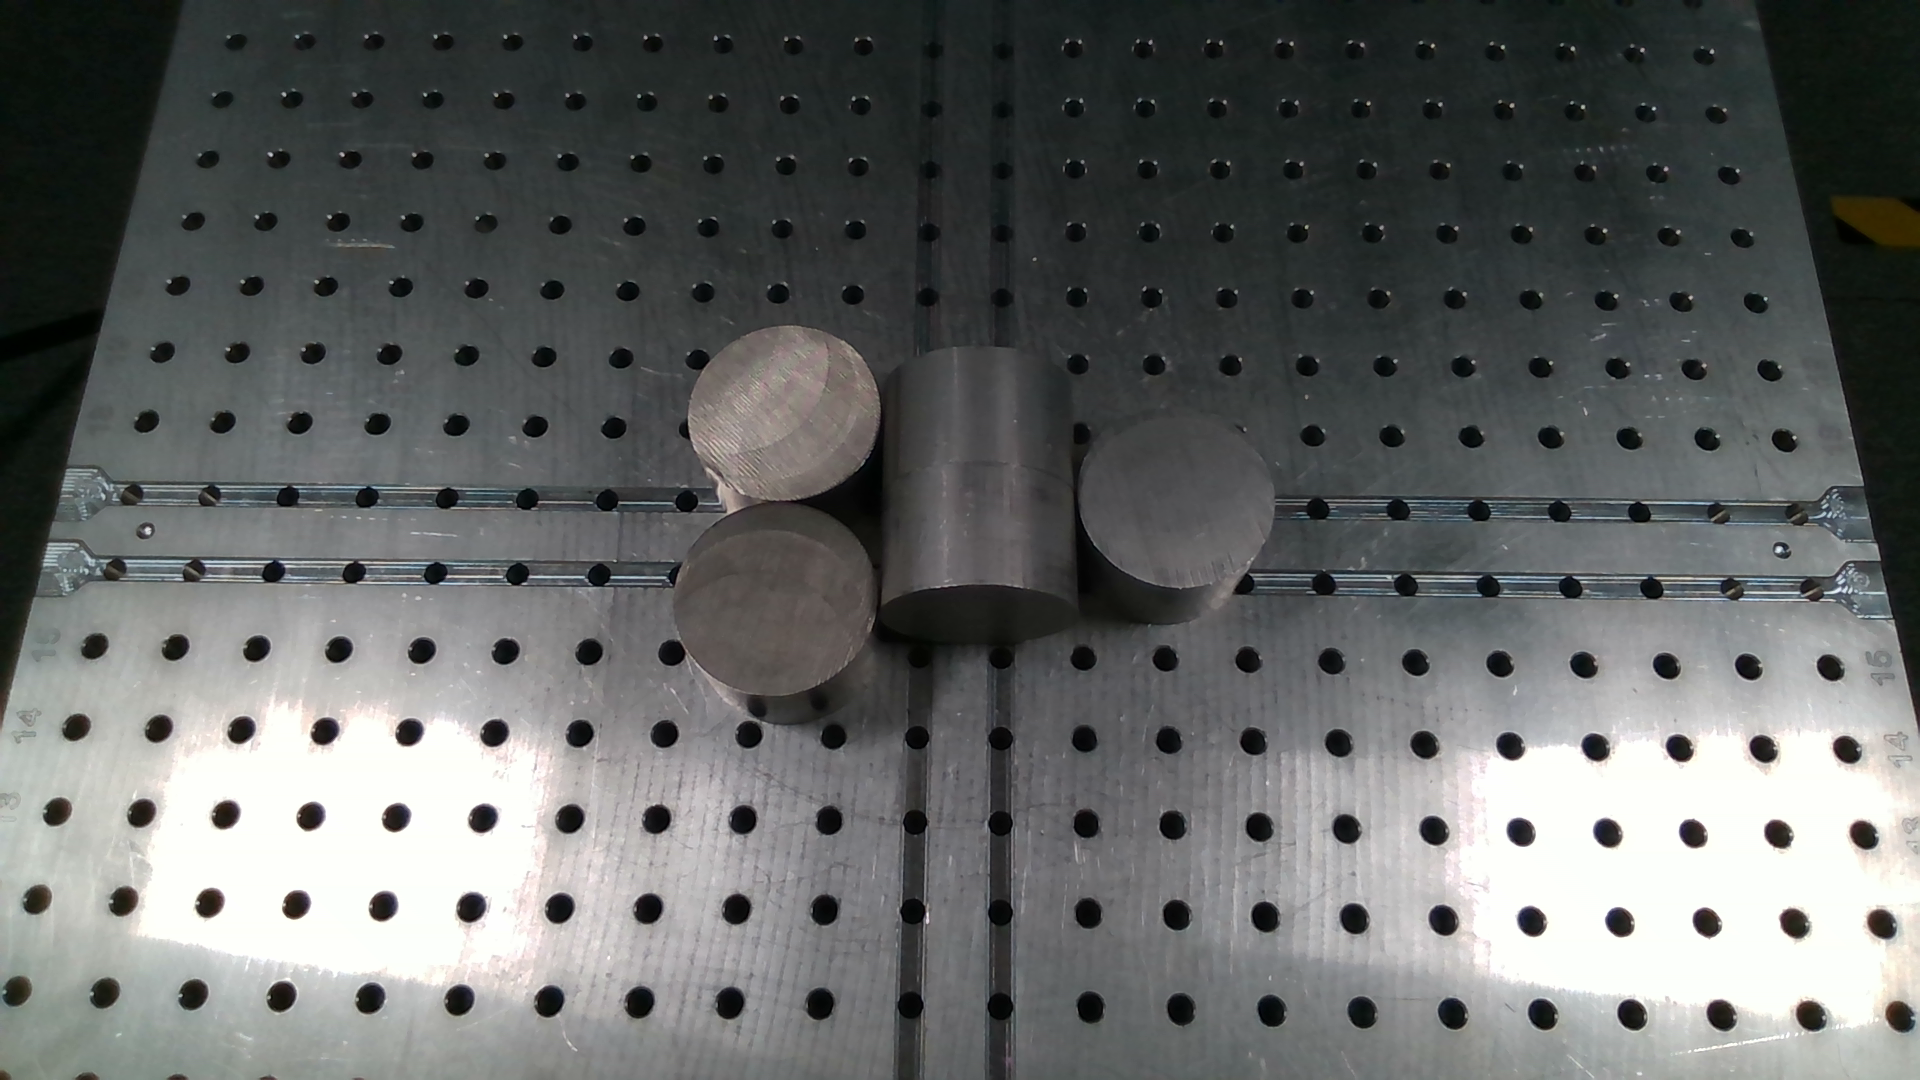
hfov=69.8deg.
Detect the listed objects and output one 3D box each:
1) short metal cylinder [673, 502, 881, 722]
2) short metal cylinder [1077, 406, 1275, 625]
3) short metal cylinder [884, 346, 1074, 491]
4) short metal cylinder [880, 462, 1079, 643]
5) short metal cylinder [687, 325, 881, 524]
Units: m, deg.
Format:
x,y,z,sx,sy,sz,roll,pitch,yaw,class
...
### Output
x,y,z,sx,sy,sz,roll,pitch,yaw,class
-0.073,0.031,0.565,0.080,0.050,0.080,0,70,0,short metal cylinder
0.087,-0.010,0.581,0.080,0.050,0.080,0,70,0,short metal cylinder
0.007,-0.040,0.576,0.080,0.080,0.050,0,70,0,short metal cylinder
0.008,0.007,0.559,0.080,0.080,0.050,0,70,0,short metal cylinder
-0.073,-0.045,0.592,0.080,0.050,0.080,0,70,0,short metal cylinder
